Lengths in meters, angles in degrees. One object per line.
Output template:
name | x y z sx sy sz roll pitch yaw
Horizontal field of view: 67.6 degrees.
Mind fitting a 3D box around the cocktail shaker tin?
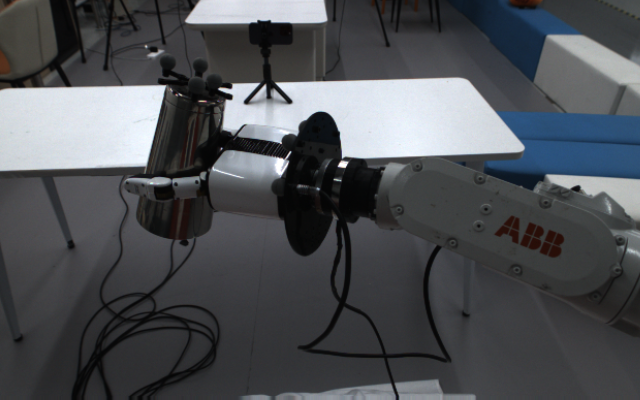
cocktail shaker tin | -0.159 -0.050 0.573 0.093 0.170 0.093 15 27 -8
